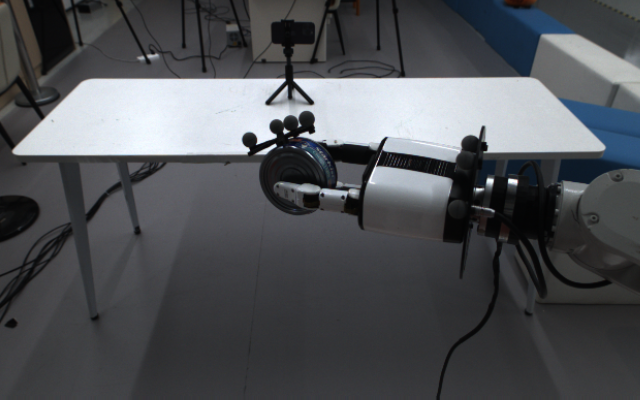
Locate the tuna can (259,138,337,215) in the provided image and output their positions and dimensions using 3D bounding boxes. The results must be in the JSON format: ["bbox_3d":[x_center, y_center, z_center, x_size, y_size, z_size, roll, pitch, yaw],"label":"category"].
[{"bbox_3d":[-0.021,-0.021,0.552,0.085,0.085,0.034,15,29,17],"label":"tuna can"}]
